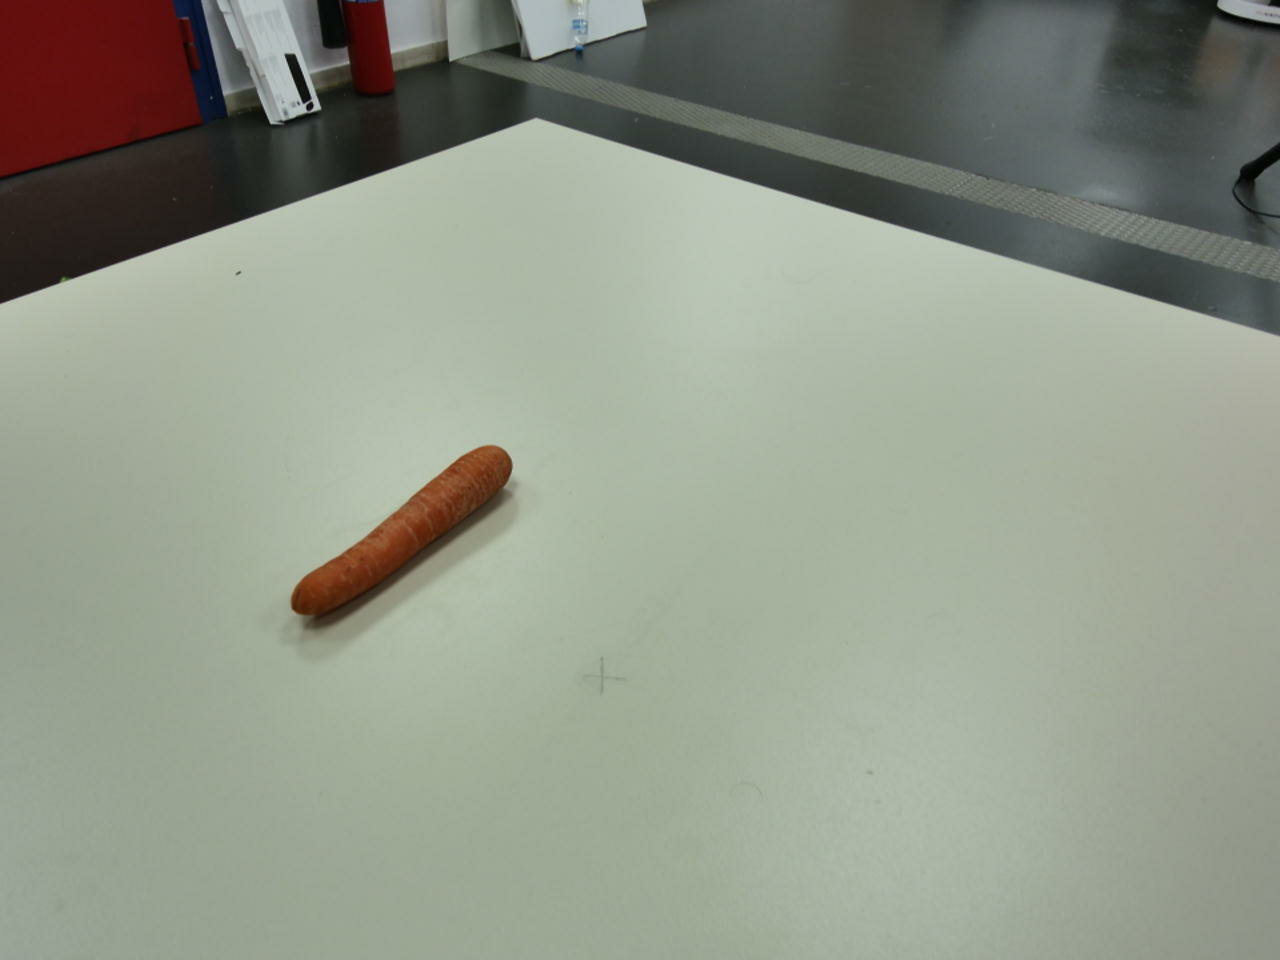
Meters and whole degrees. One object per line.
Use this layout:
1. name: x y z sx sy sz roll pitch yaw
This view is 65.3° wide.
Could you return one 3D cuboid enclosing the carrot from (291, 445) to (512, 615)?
1. carrot: -0.097 0.019 0.423 0.024 0.023 0.122 23 41 28
